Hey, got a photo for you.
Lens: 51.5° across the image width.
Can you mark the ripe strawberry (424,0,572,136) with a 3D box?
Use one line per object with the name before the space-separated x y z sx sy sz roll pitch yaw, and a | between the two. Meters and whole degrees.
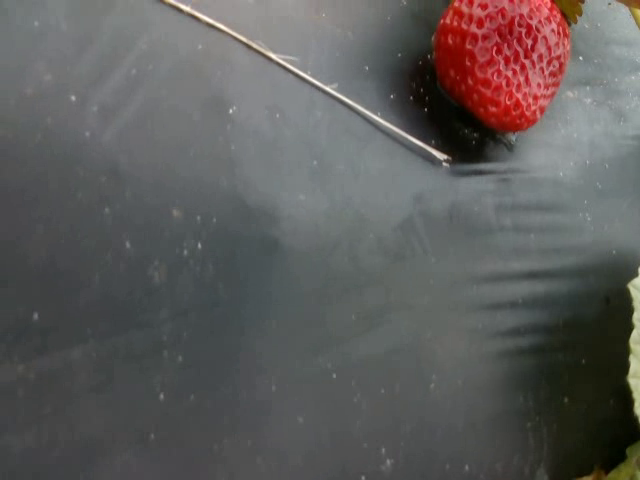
ripe strawberry | 0.032 -0.032 0.113 0.028 0.033 0.022 22 -27 -20
